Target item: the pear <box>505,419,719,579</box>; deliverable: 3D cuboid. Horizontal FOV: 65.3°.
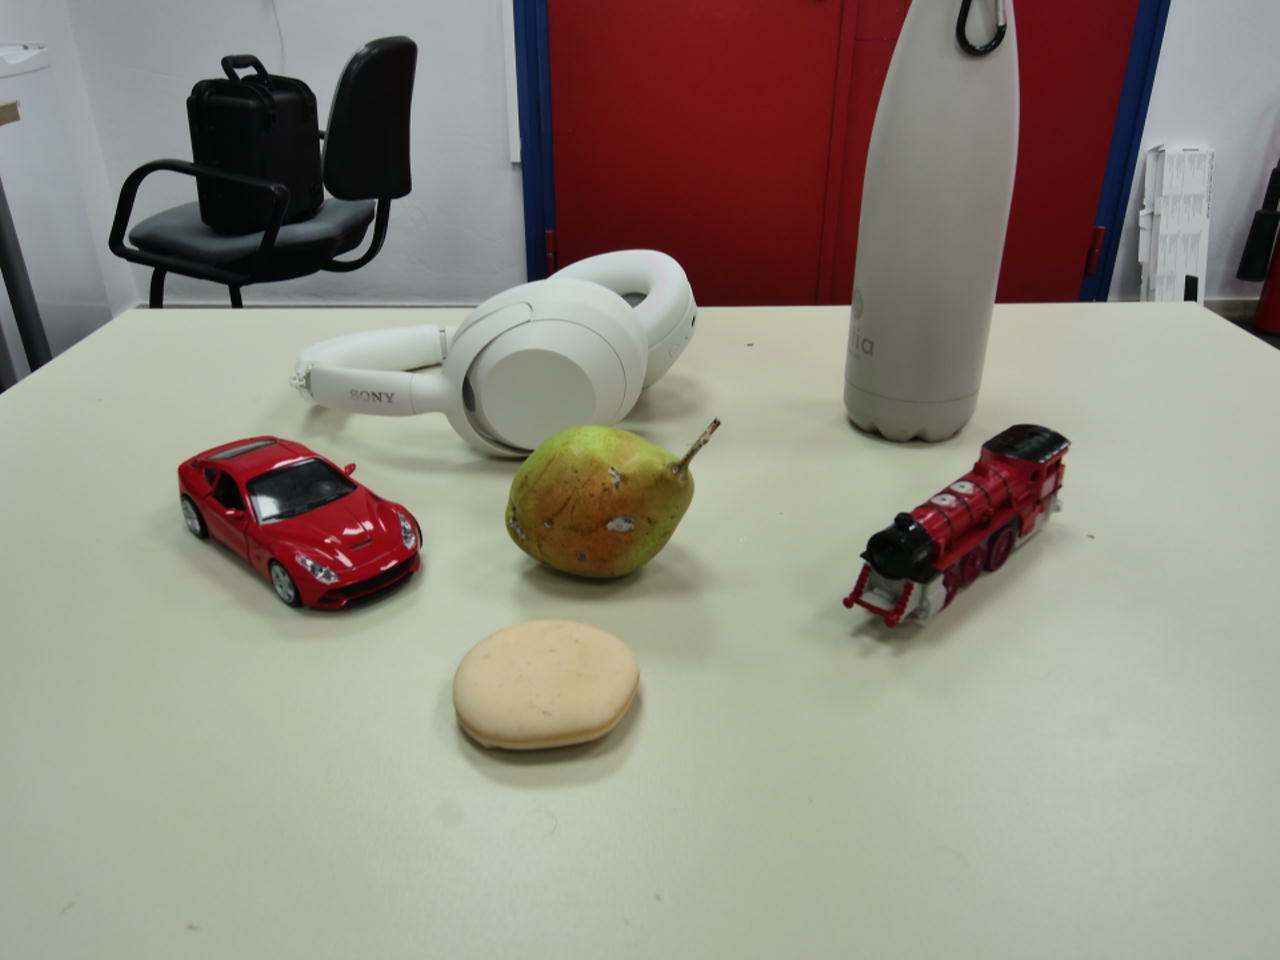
[{"bbox_3d":[-0.016,0.006,0.408,0.068,0.069,0.070,-19,30,-35],"label":"pear"}]
